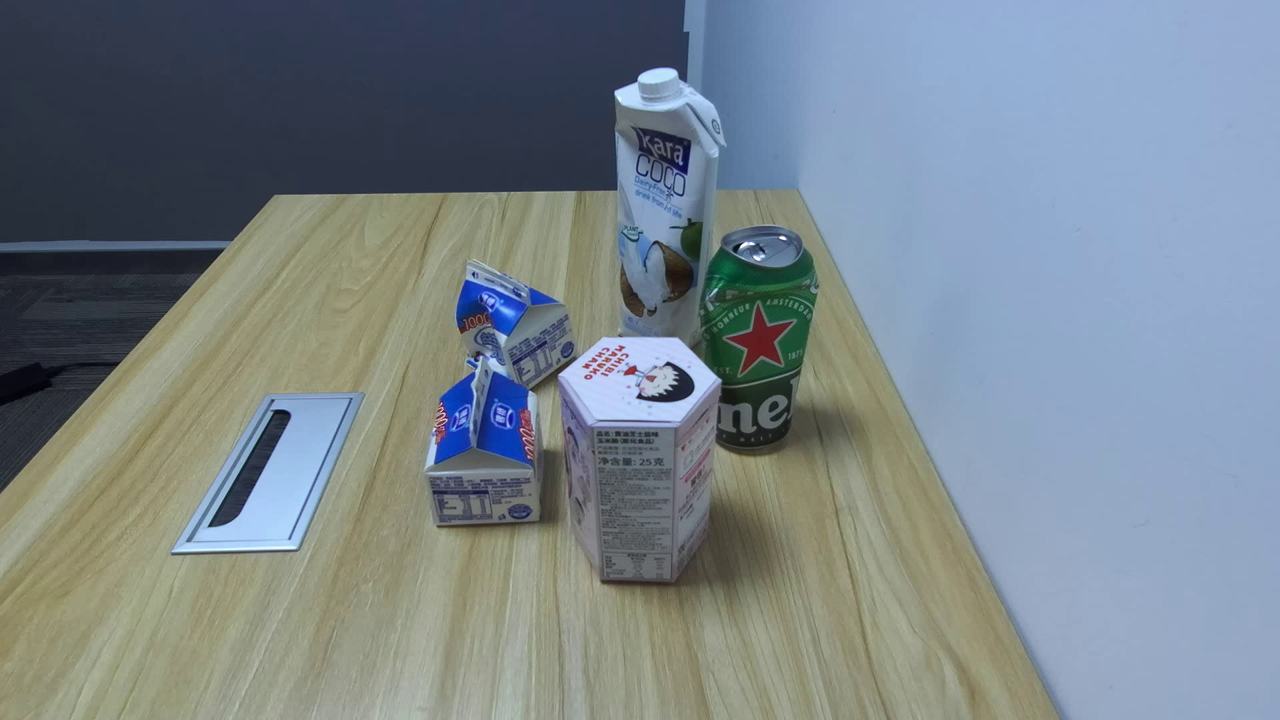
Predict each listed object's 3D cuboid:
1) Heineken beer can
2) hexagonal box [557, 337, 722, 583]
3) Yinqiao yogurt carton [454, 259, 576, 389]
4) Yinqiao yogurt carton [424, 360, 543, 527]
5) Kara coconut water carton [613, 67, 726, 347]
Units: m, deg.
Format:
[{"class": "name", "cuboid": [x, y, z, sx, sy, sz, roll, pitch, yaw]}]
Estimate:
[{"class": "Heineken beer can", "cuboid": [0.085, -0.012, 0.508, 0.077, 0.164, 0.066, 4, 37, 10]}, {"class": "hexagonal box", "cuboid": [-0.001, 0.062, 0.431, 0.083, 0.136, 0.091, 21, 42, 25]}, {"class": "Yinqiao yogurt carton", "cuboid": [-0.108, -0.034, 0.592, 0.077, 0.094, 0.071, 28, 50, 33]}, {"class": "Yinqiao yogurt carton", "cuboid": [-0.106, 0.055, 0.481, 0.074, 0.092, 0.075, -2, 39, -4]}, {"class": "Kara coconut water carton", "cuboid": [0.021, -0.116, 0.581, 0.114, 0.239, 0.069, 28, 47, 32]}]
